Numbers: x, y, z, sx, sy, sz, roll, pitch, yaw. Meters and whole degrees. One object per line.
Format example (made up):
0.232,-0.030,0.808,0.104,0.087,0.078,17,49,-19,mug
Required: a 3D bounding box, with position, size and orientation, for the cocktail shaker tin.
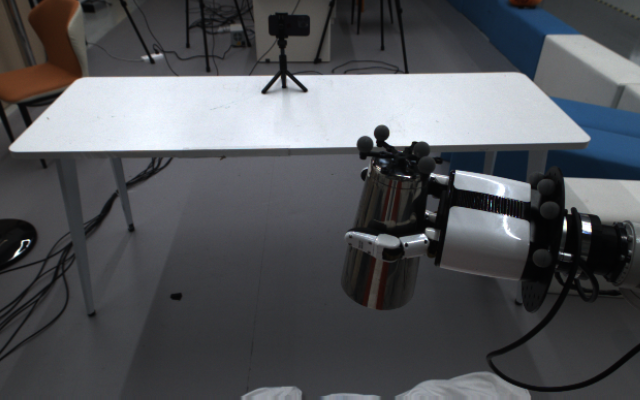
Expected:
0.080,0.032,0.562,0.093,0.170,0.093,4,32,-2,cocktail shaker tin
